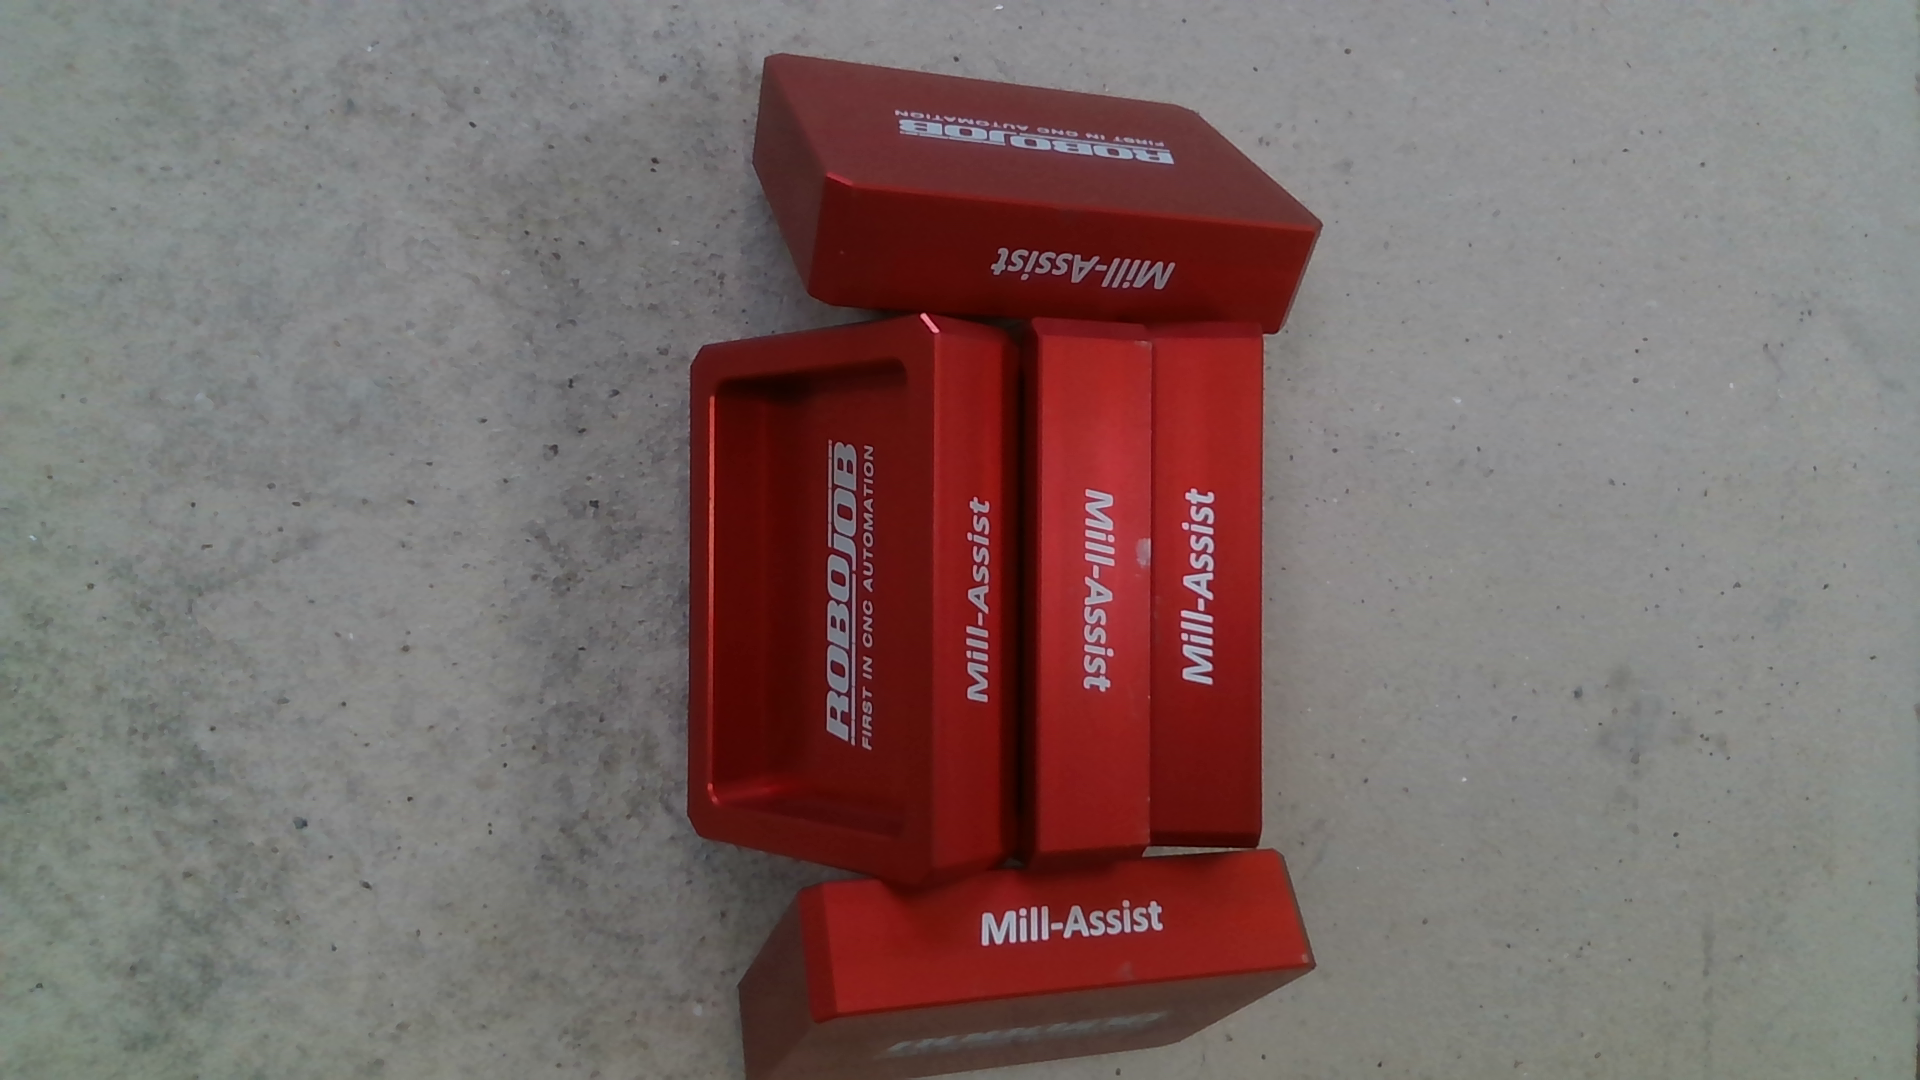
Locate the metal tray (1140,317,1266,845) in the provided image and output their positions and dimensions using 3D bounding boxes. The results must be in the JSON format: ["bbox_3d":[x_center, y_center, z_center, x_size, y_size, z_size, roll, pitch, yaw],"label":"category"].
[{"bbox_3d":[0.061,0.010,0.379,0.030,0.090,0.130,0,90,2],"label":"metal tray"}]

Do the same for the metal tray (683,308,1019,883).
[{"bbox_3d":[-0.030,0.013,0.348,0.030,0.090,0.130,1,90,-49],"label":"metal tray"}]

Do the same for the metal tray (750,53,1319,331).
[{"bbox_3d":[0.017,-0.093,0.366,0.130,0.090,0.030,0,126,-20],"label":"metal tray"}]

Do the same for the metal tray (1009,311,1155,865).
[{"bbox_3d":[0.017,0.011,0.365,0.030,0.090,0.130,0,90,-20],"label":"metal tray"}]

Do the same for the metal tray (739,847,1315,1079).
[{"bbox_3d":[0.014,0.115,0.364,0.130,0.090,0.030,1,58,-20],"label":"metal tray"}]
